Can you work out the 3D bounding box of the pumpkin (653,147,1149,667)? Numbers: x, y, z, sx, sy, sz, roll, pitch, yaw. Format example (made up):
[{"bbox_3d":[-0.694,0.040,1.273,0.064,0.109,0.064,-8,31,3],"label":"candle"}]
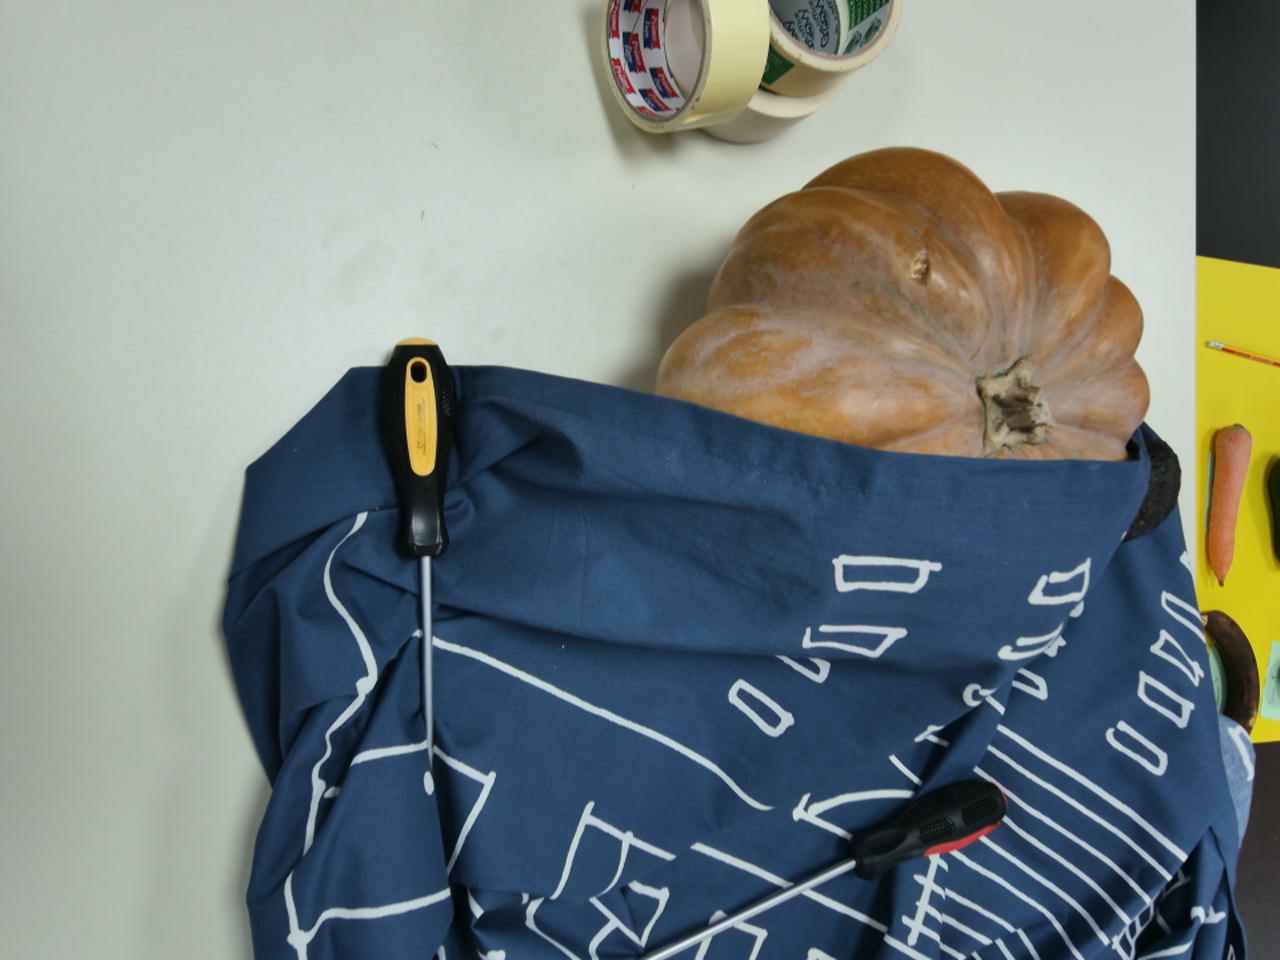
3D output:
[{"bbox_3d":[0.140,-0.036,0.528,0.277,0.181,0.277,0,91,-23],"label":"pumpkin"}]
